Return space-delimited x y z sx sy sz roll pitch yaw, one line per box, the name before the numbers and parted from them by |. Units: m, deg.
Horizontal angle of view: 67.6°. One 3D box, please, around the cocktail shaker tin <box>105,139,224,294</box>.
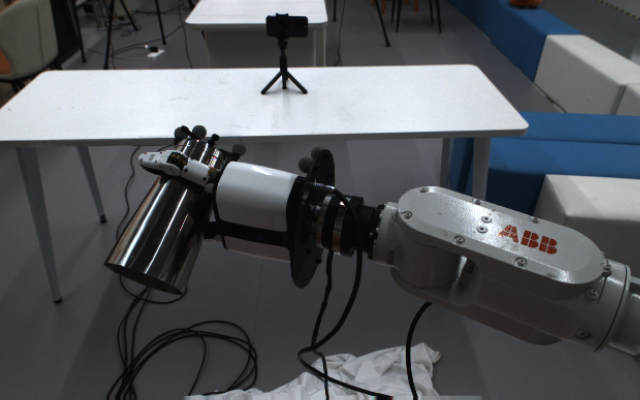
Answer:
cocktail shaker tin | -0.168 0.013 0.571 0.093 0.093 0.170 12 65 14
